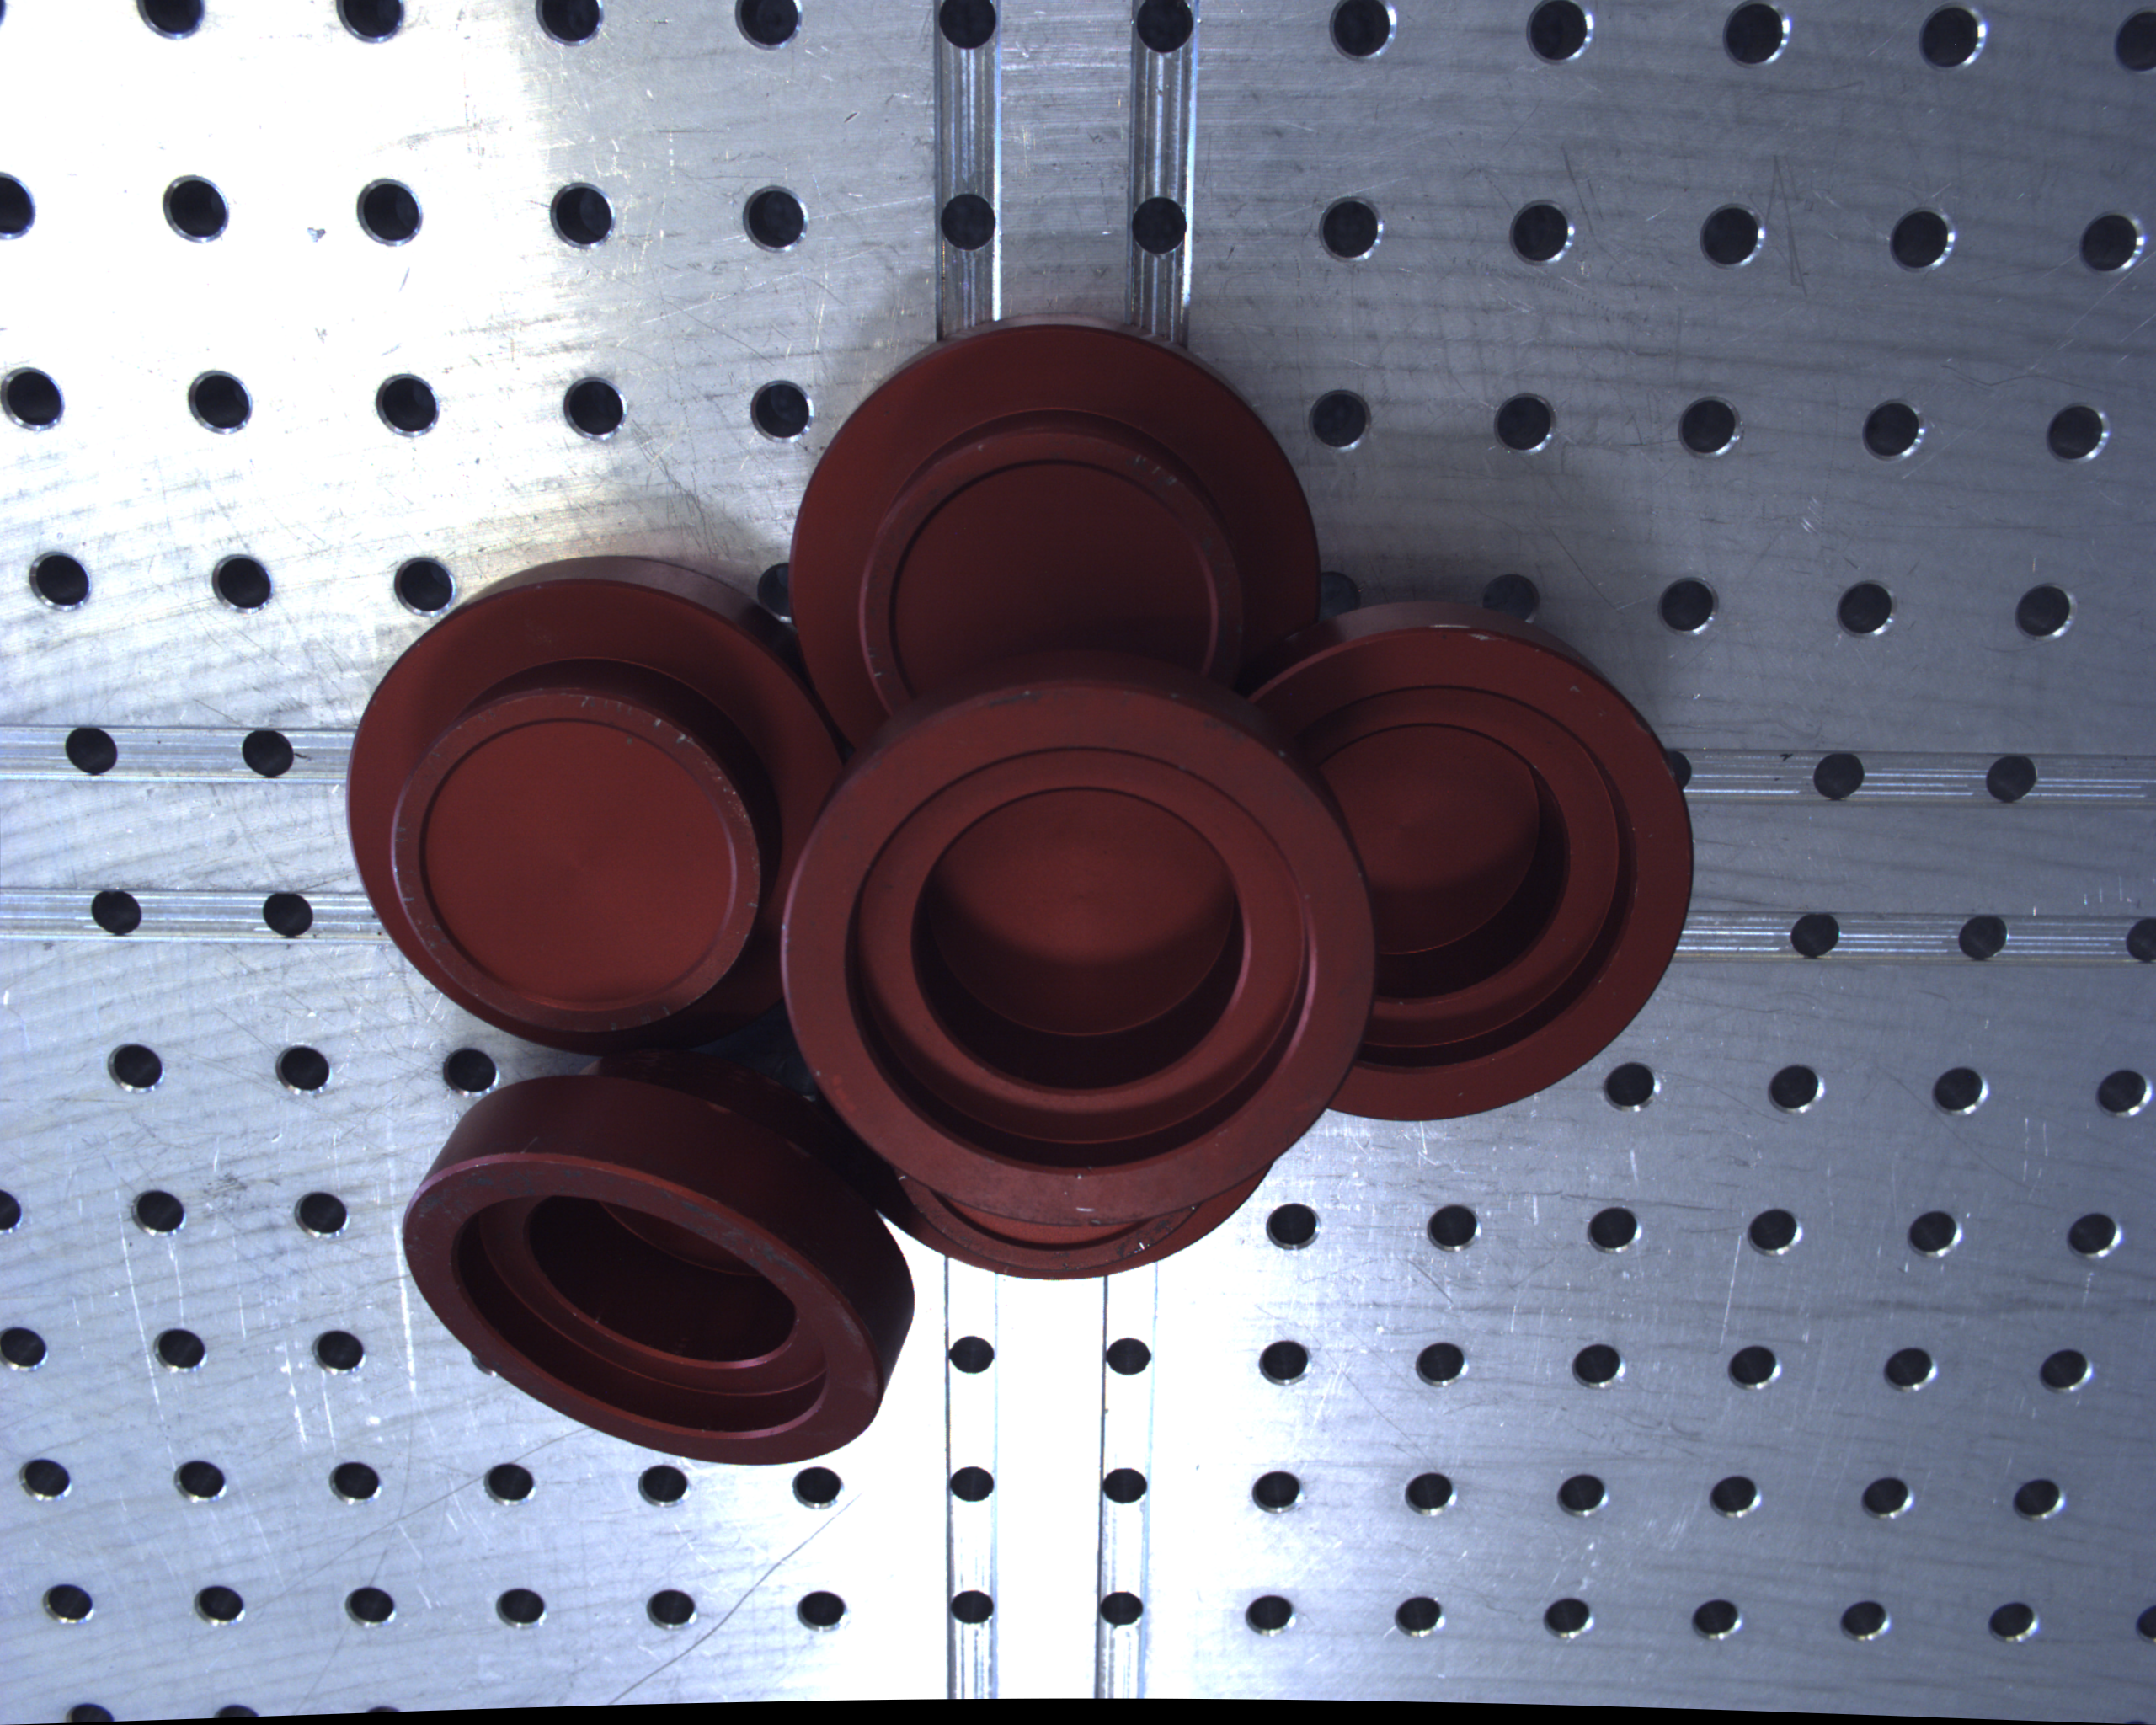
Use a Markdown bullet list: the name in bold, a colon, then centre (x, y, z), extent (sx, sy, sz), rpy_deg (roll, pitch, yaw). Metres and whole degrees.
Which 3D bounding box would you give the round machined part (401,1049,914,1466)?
- **round machined part**: centre (-0.079, 0.075, 0.417), extent (0.098, 0.042, 0.097), rpy_deg (9, 134, 10)

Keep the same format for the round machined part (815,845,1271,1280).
- **round machined part**: centre (-0.004, 0.042, 0.419), extent (0.099, 0.042, 0.097), rpy_deg (0, 110, 0)

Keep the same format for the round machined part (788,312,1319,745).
- **round machined part**: centre (-0.004, -0.050, 0.386), extent (0.099, 0.042, 0.097), rpy_deg (0, 110, 0)

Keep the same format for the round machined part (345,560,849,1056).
- **round machined part**: centre (-0.091, -0.006, 0.401), extent (0.099, 0.042, 0.097), rpy_deg (0, 110, 0)

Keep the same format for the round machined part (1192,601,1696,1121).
- **round machined part**: centre (0.064, -0.003, 0.403), extent (0.099, 0.042, 0.097), rpy_deg (0, 110, 0)

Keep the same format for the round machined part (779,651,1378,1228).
- **round machined part**: centre (0.000, 0.010, 0.362), extent (0.099, 0.042, 0.097), rpy_deg (0, 110, 0)
